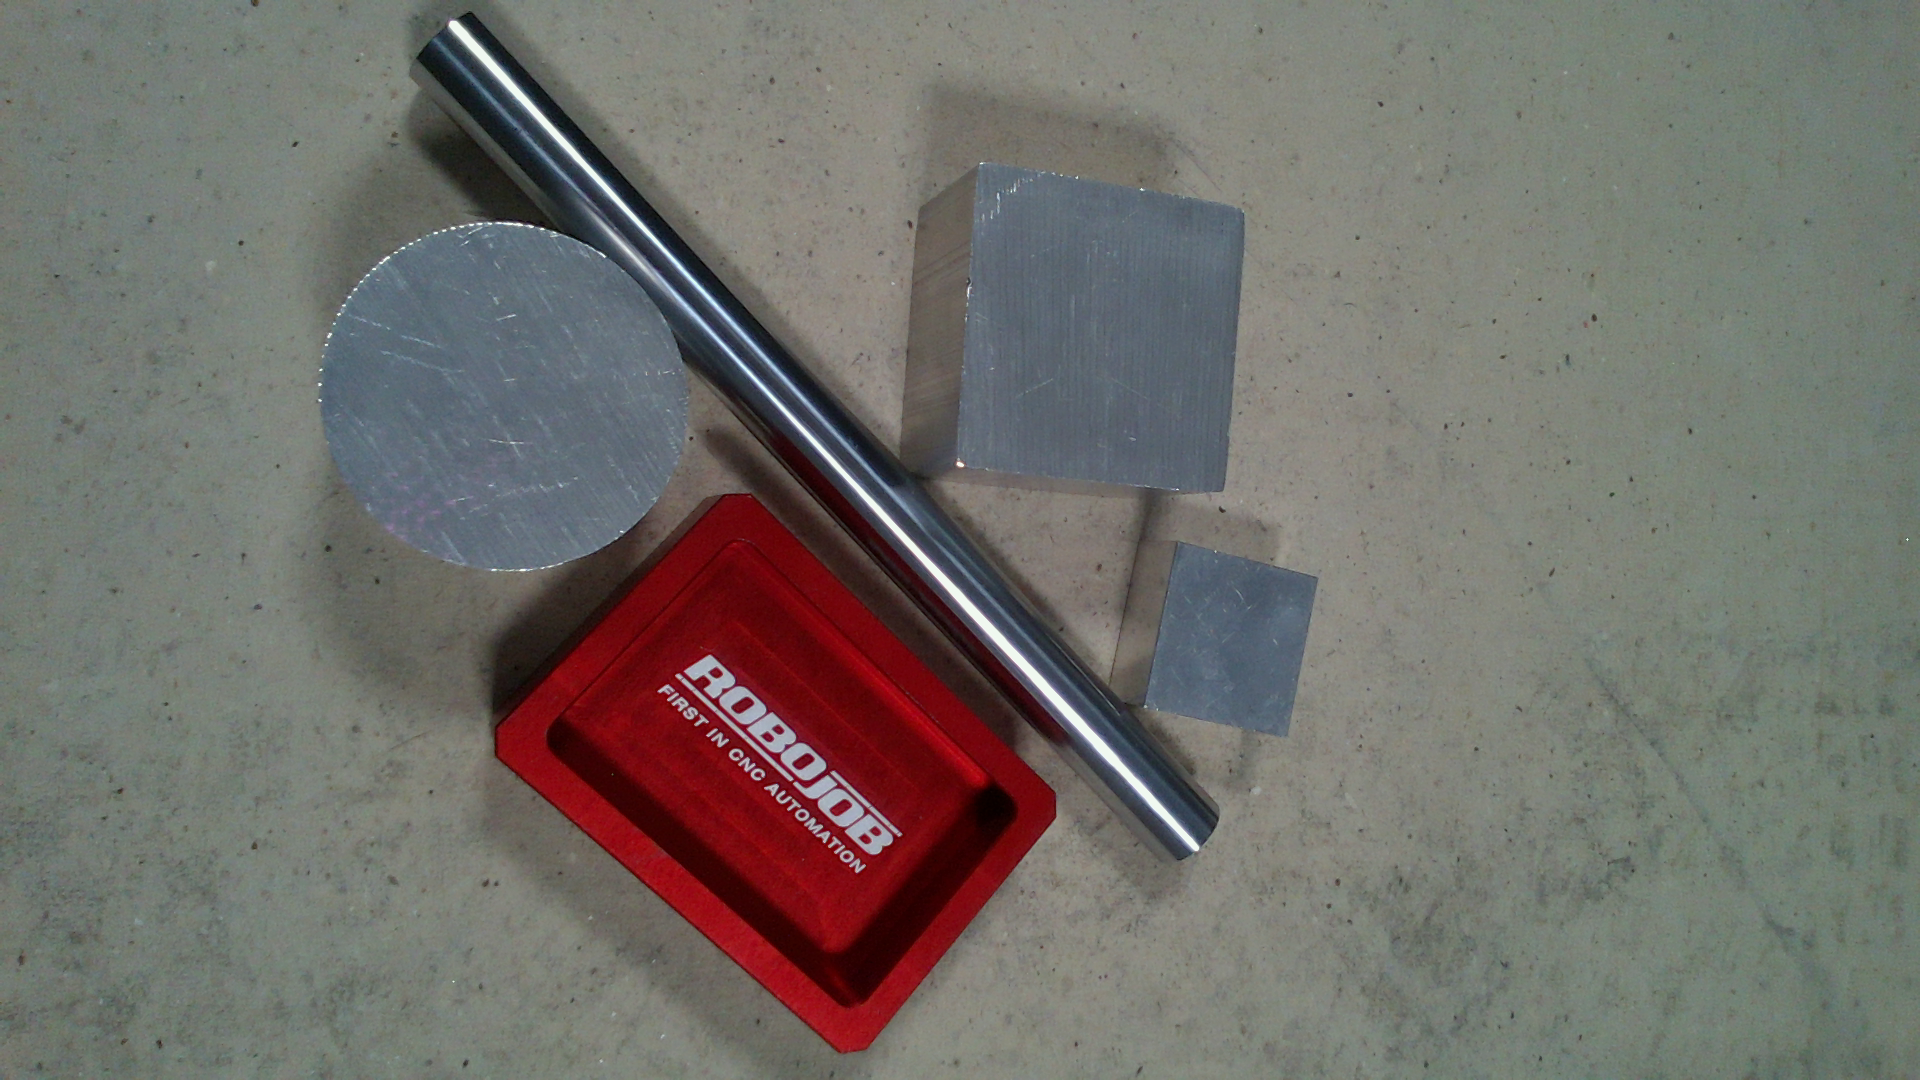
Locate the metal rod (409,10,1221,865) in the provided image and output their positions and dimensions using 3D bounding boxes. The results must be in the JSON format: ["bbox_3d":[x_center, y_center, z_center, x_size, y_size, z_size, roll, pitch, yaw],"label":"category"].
[{"bbox_3d":[-0.030,-0.018,0.382,0.025,0.025,0.300,-46,104,-14],"label":"metal rod"}]

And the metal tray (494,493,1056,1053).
[{"bbox_3d":[-0.048,0.062,0.373,0.130,0.030,0.090,46,76,-14],"label":"metal tray"}]

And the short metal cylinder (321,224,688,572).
[{"bbox_3d":[-0.111,-0.033,0.340,0.080,0.050,0.080,0,90,-20],"label":"short metal cylinder"}]

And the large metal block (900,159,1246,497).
[{"bbox_3d":[0.031,-0.056,0.391,0.080,0.050,0.080,5,89,-20],"label":"large metal block"}]

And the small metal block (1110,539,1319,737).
[{"bbox_3d":[0.077,0.030,0.422,0.050,0.025,0.050,14,85,-19],"label":"small metal block"}]
